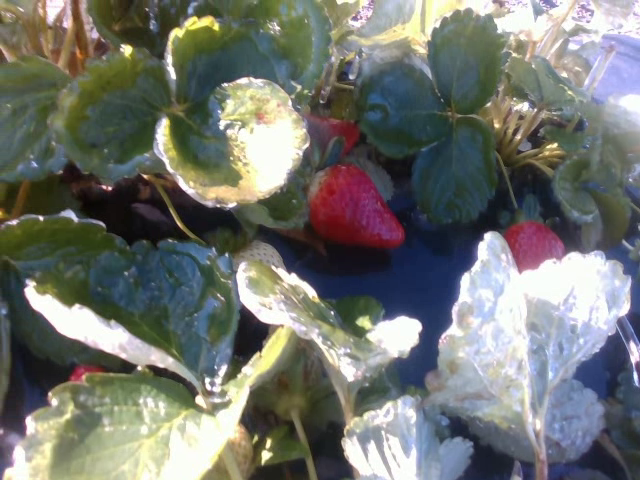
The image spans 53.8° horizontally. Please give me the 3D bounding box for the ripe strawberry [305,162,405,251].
[{"bbox_3d":[0.022,-0.015,0.304,0.056,0.044,0.040,40,-34,-7],"label":"ripe strawberry"}]

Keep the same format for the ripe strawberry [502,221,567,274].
[{"bbox_3d":[0.111,0.010,0.322,0.039,0.047,0.040,30,-43,-13],"label":"ripe strawberry"}]
